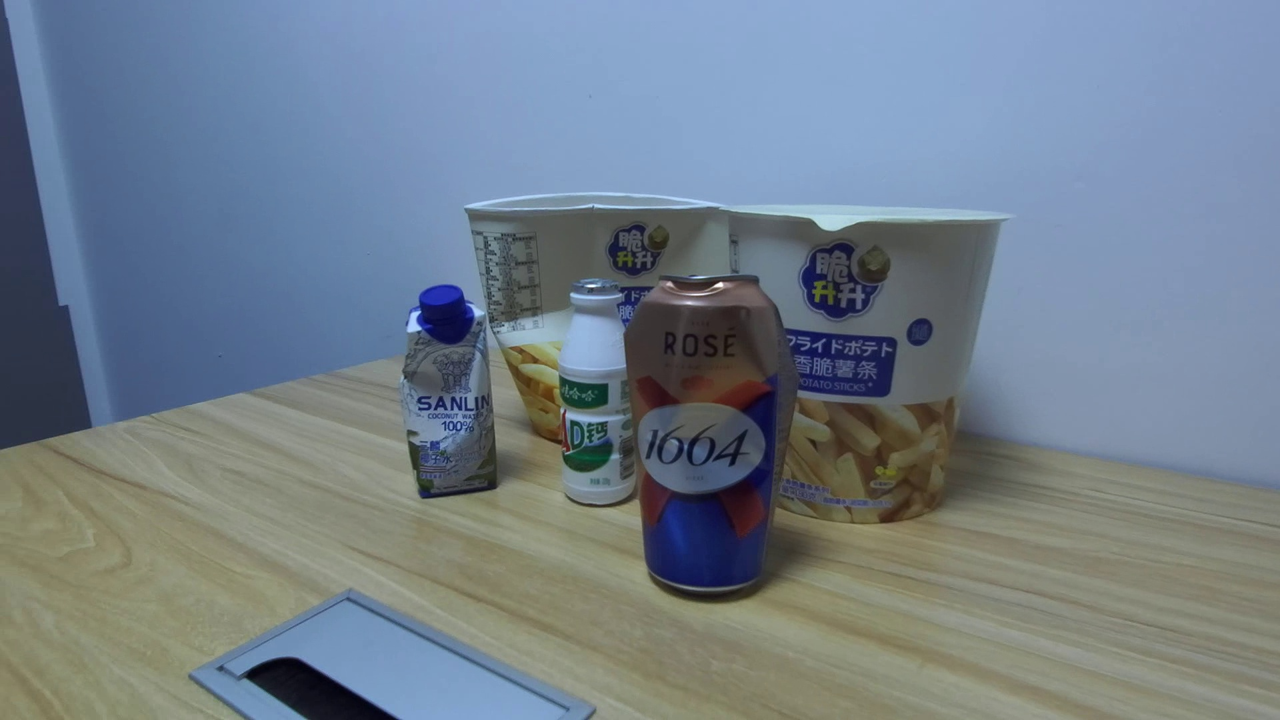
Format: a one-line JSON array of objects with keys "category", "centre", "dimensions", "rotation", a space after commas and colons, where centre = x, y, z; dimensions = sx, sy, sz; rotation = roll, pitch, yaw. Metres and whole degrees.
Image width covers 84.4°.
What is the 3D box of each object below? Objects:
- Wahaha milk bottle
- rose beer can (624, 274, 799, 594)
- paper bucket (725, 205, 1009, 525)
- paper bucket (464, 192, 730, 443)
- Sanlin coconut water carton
[{"category": "Wahaha milk bottle", "centre": [-0.027, 0.022, 0.472], "dimensions": [0.053, 0.147, 0.053], "rotation": [0, 16, 0]}, {"category": "rose beer can", "centre": [0.037, 0.038, 0.376], "dimensions": [0.069, 0.168, 0.069], "rotation": [-9, 14, -40]}, {"category": "paper bucket", "centre": [0.146, -0.006, 0.496], "dimensions": [0.198, 0.194, 0.198], "rotation": [0, 14, 0]}, {"category": "paper bucket", "centre": [-0.018, -0.040, 0.608], "dimensions": [0.219, 0.199, 0.147], "rotation": [-12, 20, -38]}, {"category": "Sanlin coconut water carton", "centre": [-0.135, 0.019, 0.493], "dimensions": [0.061, 0.143, 0.069], "rotation": [-5, 17, -17]}]
